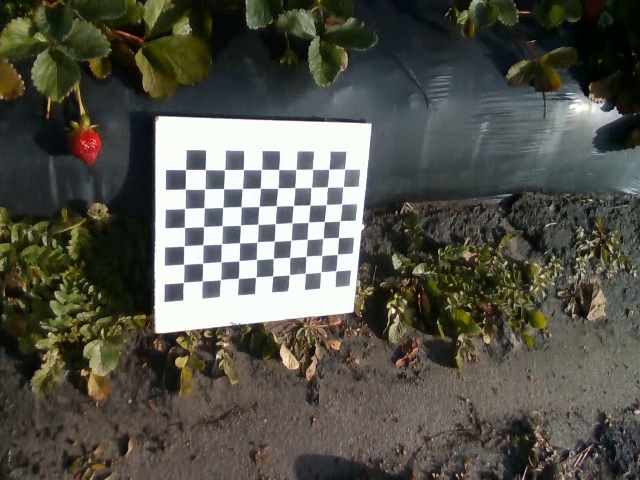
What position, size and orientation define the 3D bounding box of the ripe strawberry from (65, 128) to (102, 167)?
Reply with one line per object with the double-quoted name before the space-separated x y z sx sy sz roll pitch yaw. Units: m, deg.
"ripe strawberry" -0.251 -0.096 0.718 0.040 0.044 0.036 -22 11 -17
